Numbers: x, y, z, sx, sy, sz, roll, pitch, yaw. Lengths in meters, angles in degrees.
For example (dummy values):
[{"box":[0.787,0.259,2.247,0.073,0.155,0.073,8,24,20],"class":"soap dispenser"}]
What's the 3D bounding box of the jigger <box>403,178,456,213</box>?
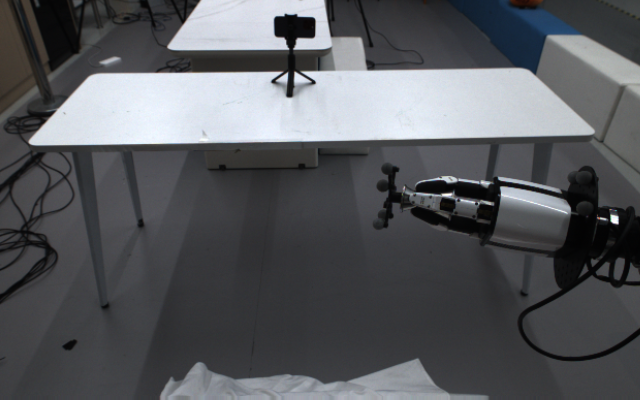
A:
[{"box":[0.153,-0.001,0.663,0.071,0.043,0.043,8,35,15],"class":"jigger"}]
